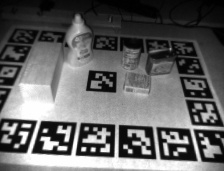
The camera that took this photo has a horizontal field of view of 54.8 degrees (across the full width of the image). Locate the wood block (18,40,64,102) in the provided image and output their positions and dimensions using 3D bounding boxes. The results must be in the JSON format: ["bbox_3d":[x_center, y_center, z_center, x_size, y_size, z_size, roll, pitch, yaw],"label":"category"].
[{"bbox_3d":[-0.226,-0.053,0.709,0.091,0.090,0.205,5,45,-3],"label":"wood block"}]

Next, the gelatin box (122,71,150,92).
[{"bbox_3d":[0.085,-0.018,0.747,0.089,0.030,0.073,9,51,5],"label":"gelatin box"}]

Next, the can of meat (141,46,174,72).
[{"bbox_3d":[0.164,-0.099,0.797,0.102,0.084,0.057,-7,50,-14],"label":"can of meat"}]

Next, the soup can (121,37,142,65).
[{"bbox_3d":[0.068,-0.133,0.792,0.068,0.102,0.067,2,50,-2],"label":"soup can"}]

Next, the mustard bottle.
[{"bbox_3d":[-0.124,-0.158,0.750,0.097,0.192,0.058,-17,52,-21],"label":"mustard bottle"}]
